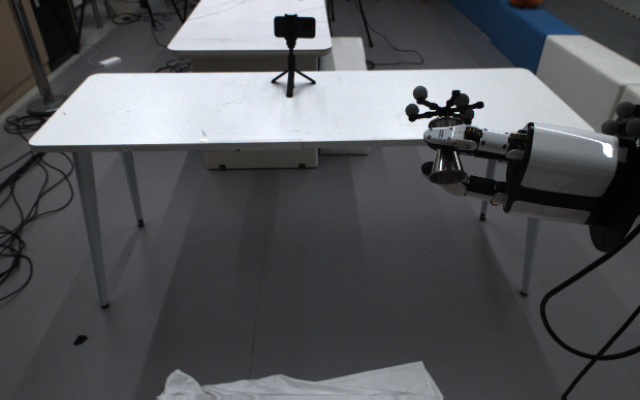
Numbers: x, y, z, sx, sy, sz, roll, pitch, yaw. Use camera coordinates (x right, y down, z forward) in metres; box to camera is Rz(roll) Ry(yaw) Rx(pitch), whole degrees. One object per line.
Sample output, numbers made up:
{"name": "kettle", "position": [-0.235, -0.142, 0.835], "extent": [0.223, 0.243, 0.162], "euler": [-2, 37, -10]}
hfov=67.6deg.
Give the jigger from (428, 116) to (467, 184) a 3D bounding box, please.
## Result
{"name": "jigger", "position": [0.146, -0.059, 0.561], "extent": [0.043, 0.043, 0.071], "euler": [3, 72, 1]}
